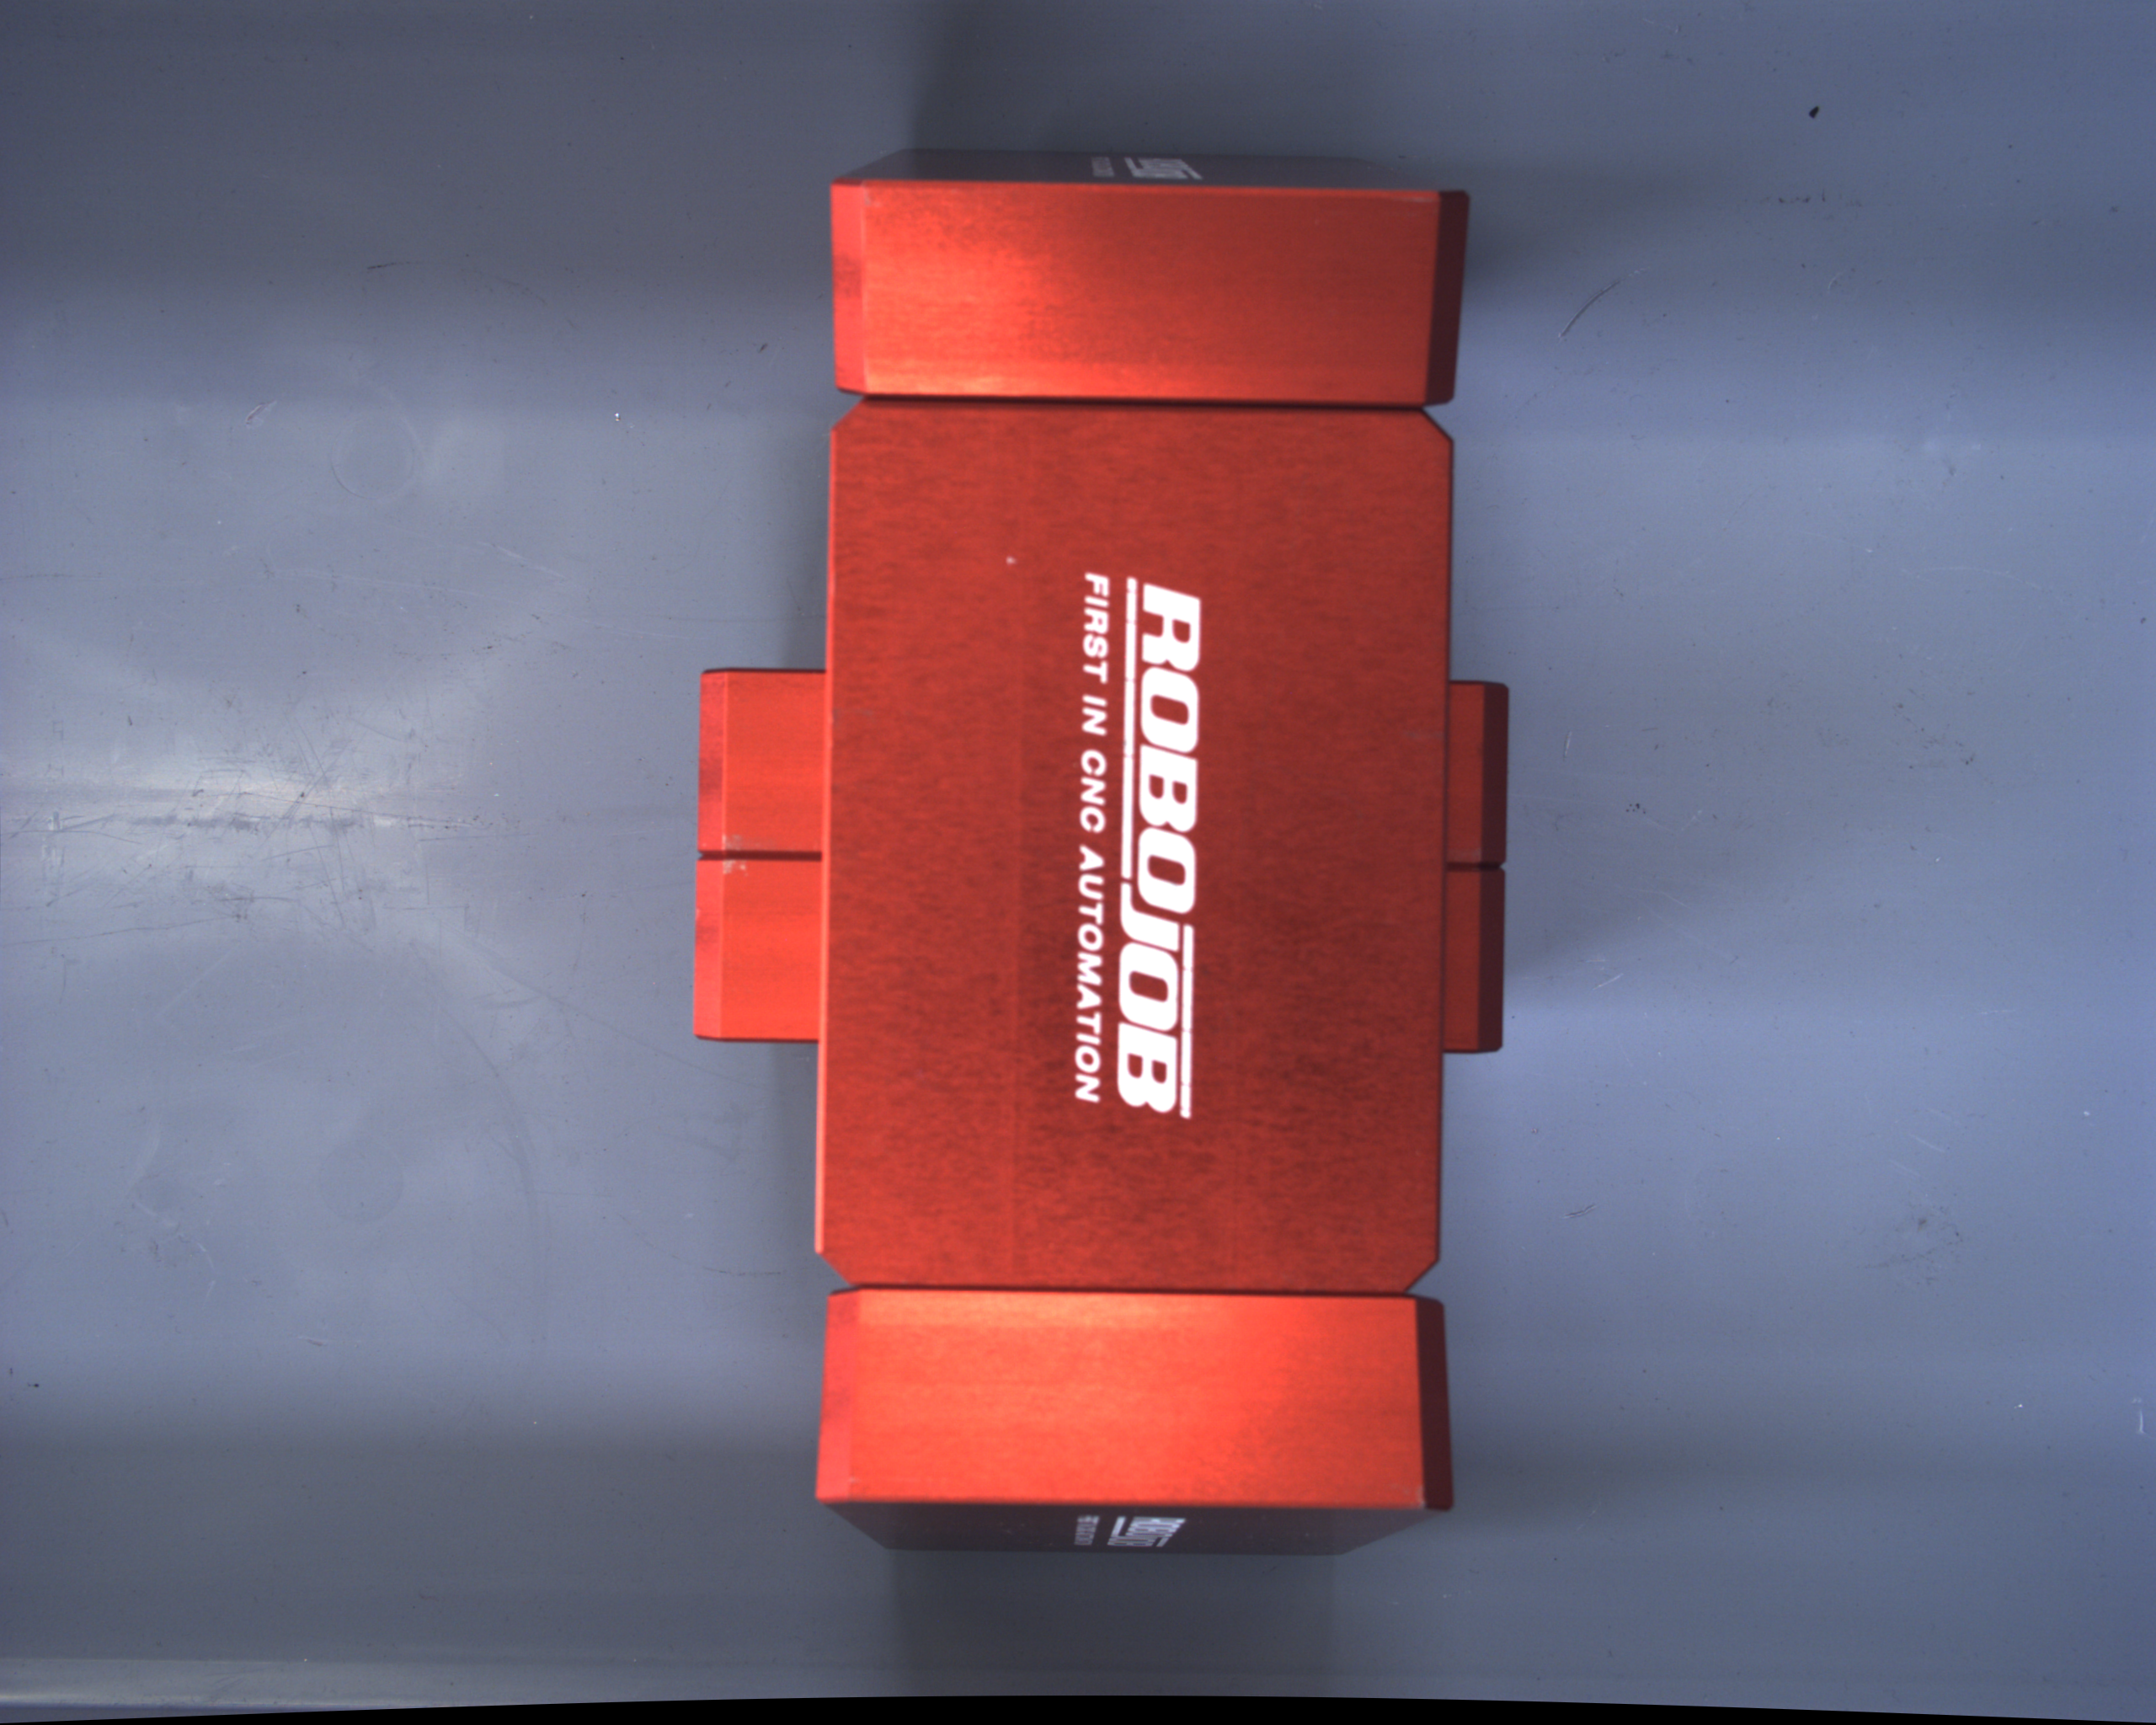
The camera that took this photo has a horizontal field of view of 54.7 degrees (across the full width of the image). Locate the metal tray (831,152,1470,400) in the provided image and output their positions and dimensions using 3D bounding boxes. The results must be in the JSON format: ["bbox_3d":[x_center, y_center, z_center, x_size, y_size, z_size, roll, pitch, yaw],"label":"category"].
[{"bbox_3d":[0.010,-0.104,0.357,0.091,0.130,0.030,1,111,0],"label":"metal tray"}]

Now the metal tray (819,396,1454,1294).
[{"bbox_3d":[0.008,-0.002,0.317,0.091,0.030,0.129,1,90,-1],"label":"metal tray"}]

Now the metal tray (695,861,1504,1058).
[{"bbox_3d":[0.004,0.015,0.378,0.131,0.090,0.030,1,90,0],"label":"metal tray"}]

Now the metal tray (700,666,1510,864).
[{"bbox_3d":[0.005,-0.016,0.378,0.131,0.090,0.030,1,90,0],"label":"metal tray"}]

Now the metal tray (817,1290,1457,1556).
[{"bbox_3d":[0.008,0.099,0.356,0.091,0.130,0.030,0,69,-1],"label":"metal tray"}]
